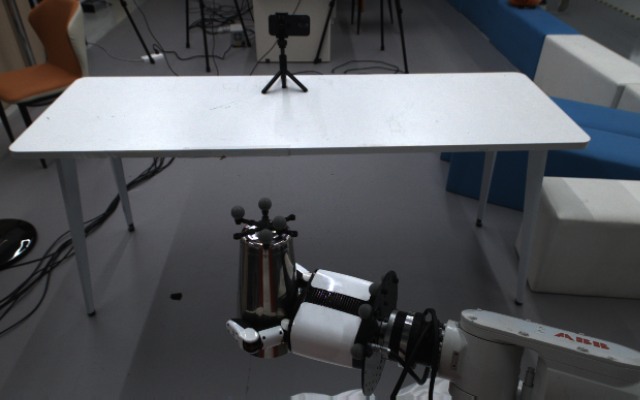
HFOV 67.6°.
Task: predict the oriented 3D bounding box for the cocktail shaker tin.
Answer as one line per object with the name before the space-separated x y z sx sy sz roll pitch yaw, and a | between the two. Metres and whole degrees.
cocktail shaker tin | -0.069 0.115 0.647 0.093 0.170 0.093 1 27 -1
